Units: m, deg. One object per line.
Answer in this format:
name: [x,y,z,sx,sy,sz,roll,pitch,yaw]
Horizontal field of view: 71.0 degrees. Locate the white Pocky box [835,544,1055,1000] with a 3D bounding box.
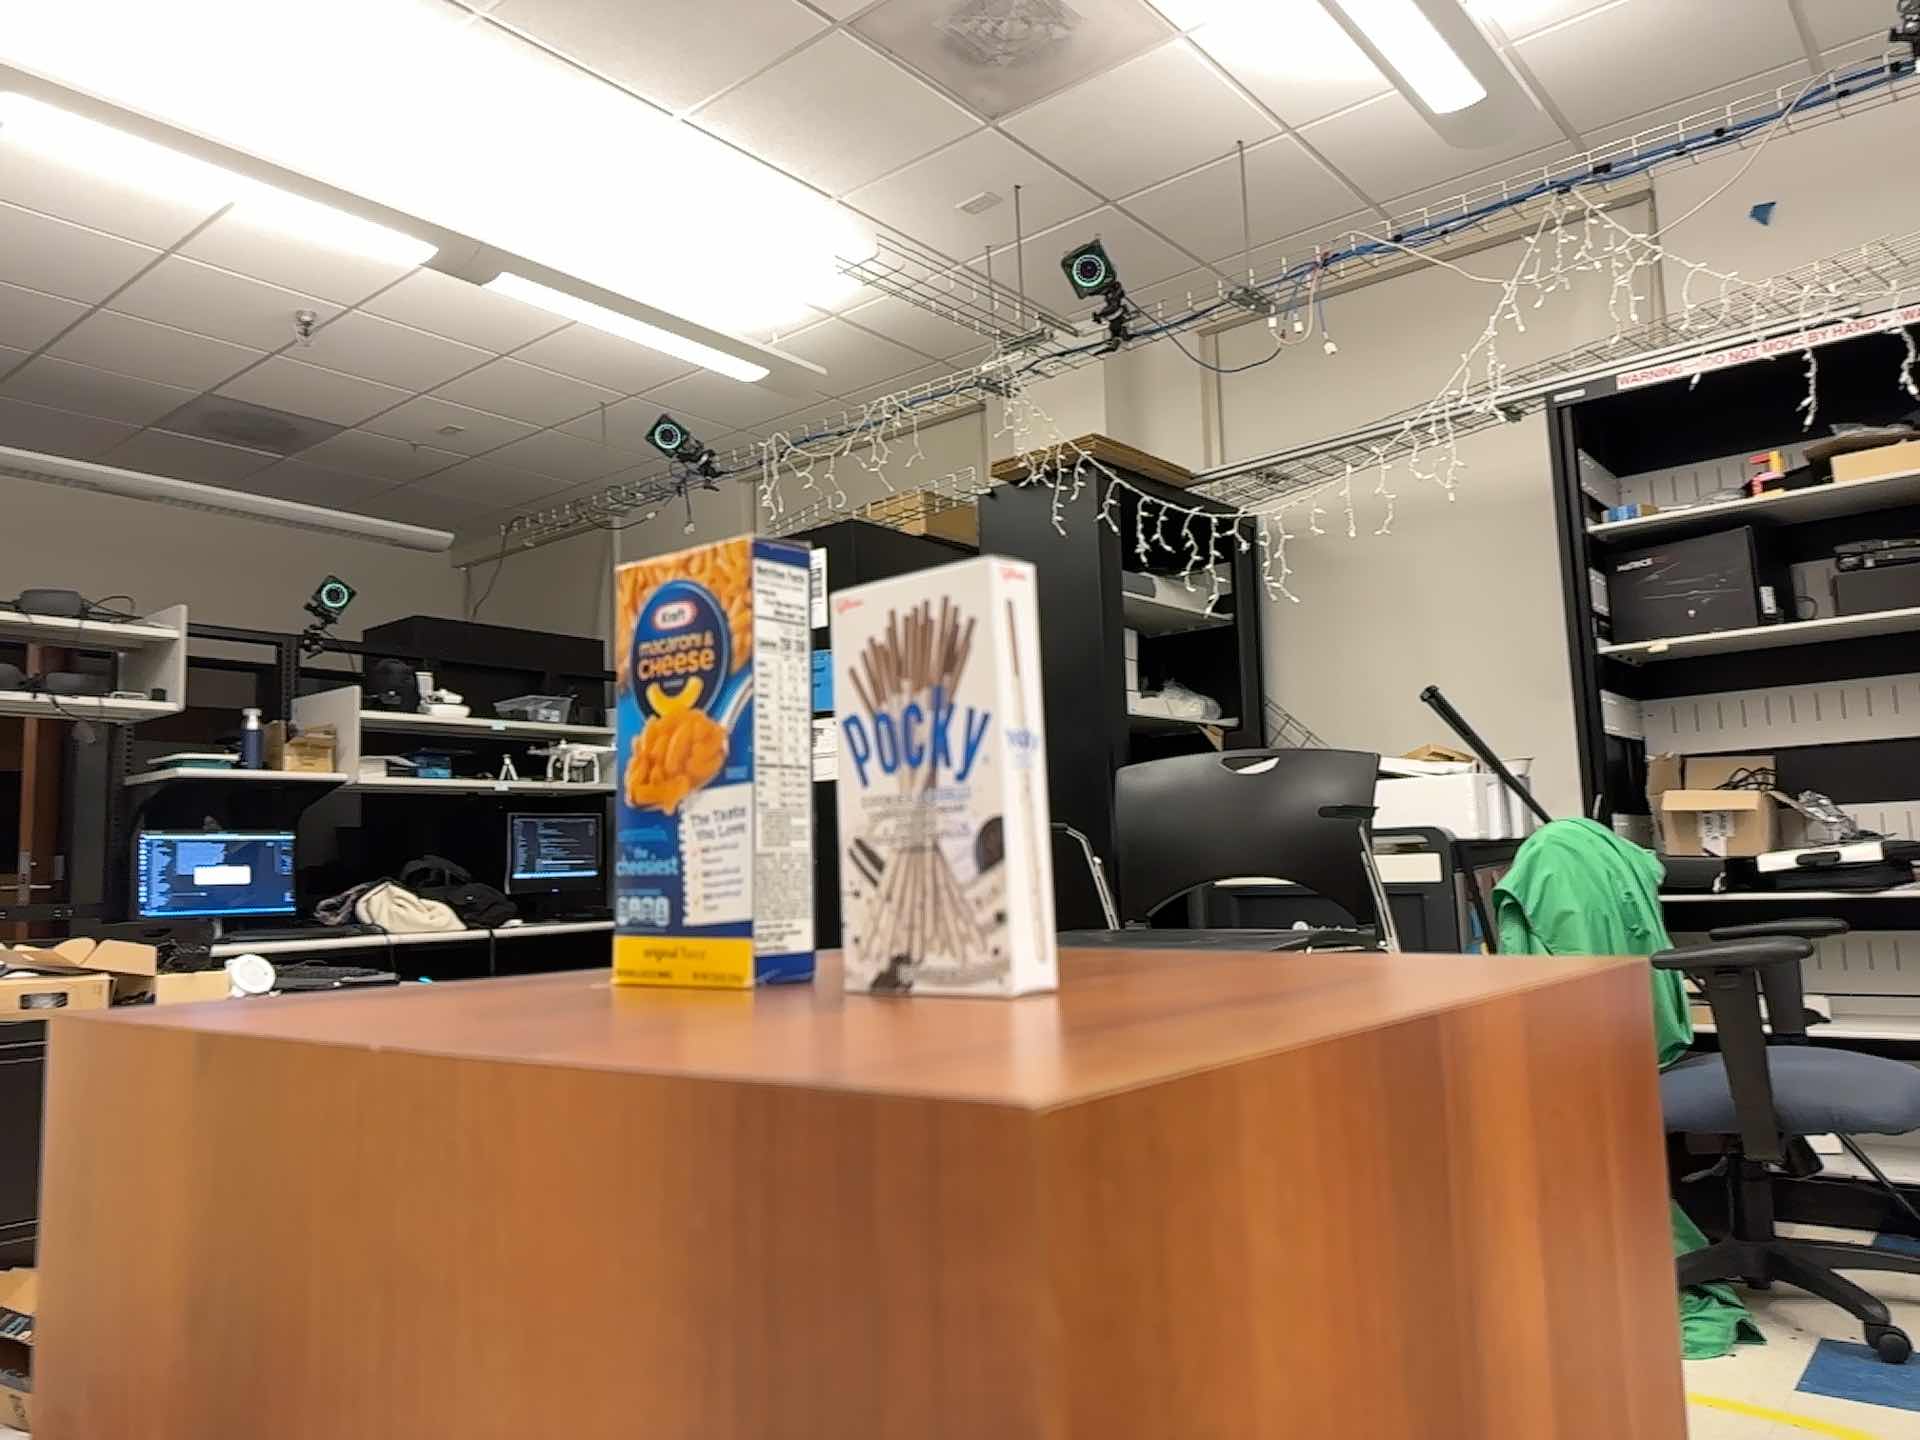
white Pocky box: [-0.008,0.021,0.483,0.028,0.154,0.084,6,-11,-44]

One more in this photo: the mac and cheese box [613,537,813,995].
mac and cheese box: [-0.106,0.023,0.574,0.088,0.181,0.035,-11,-13,42]
